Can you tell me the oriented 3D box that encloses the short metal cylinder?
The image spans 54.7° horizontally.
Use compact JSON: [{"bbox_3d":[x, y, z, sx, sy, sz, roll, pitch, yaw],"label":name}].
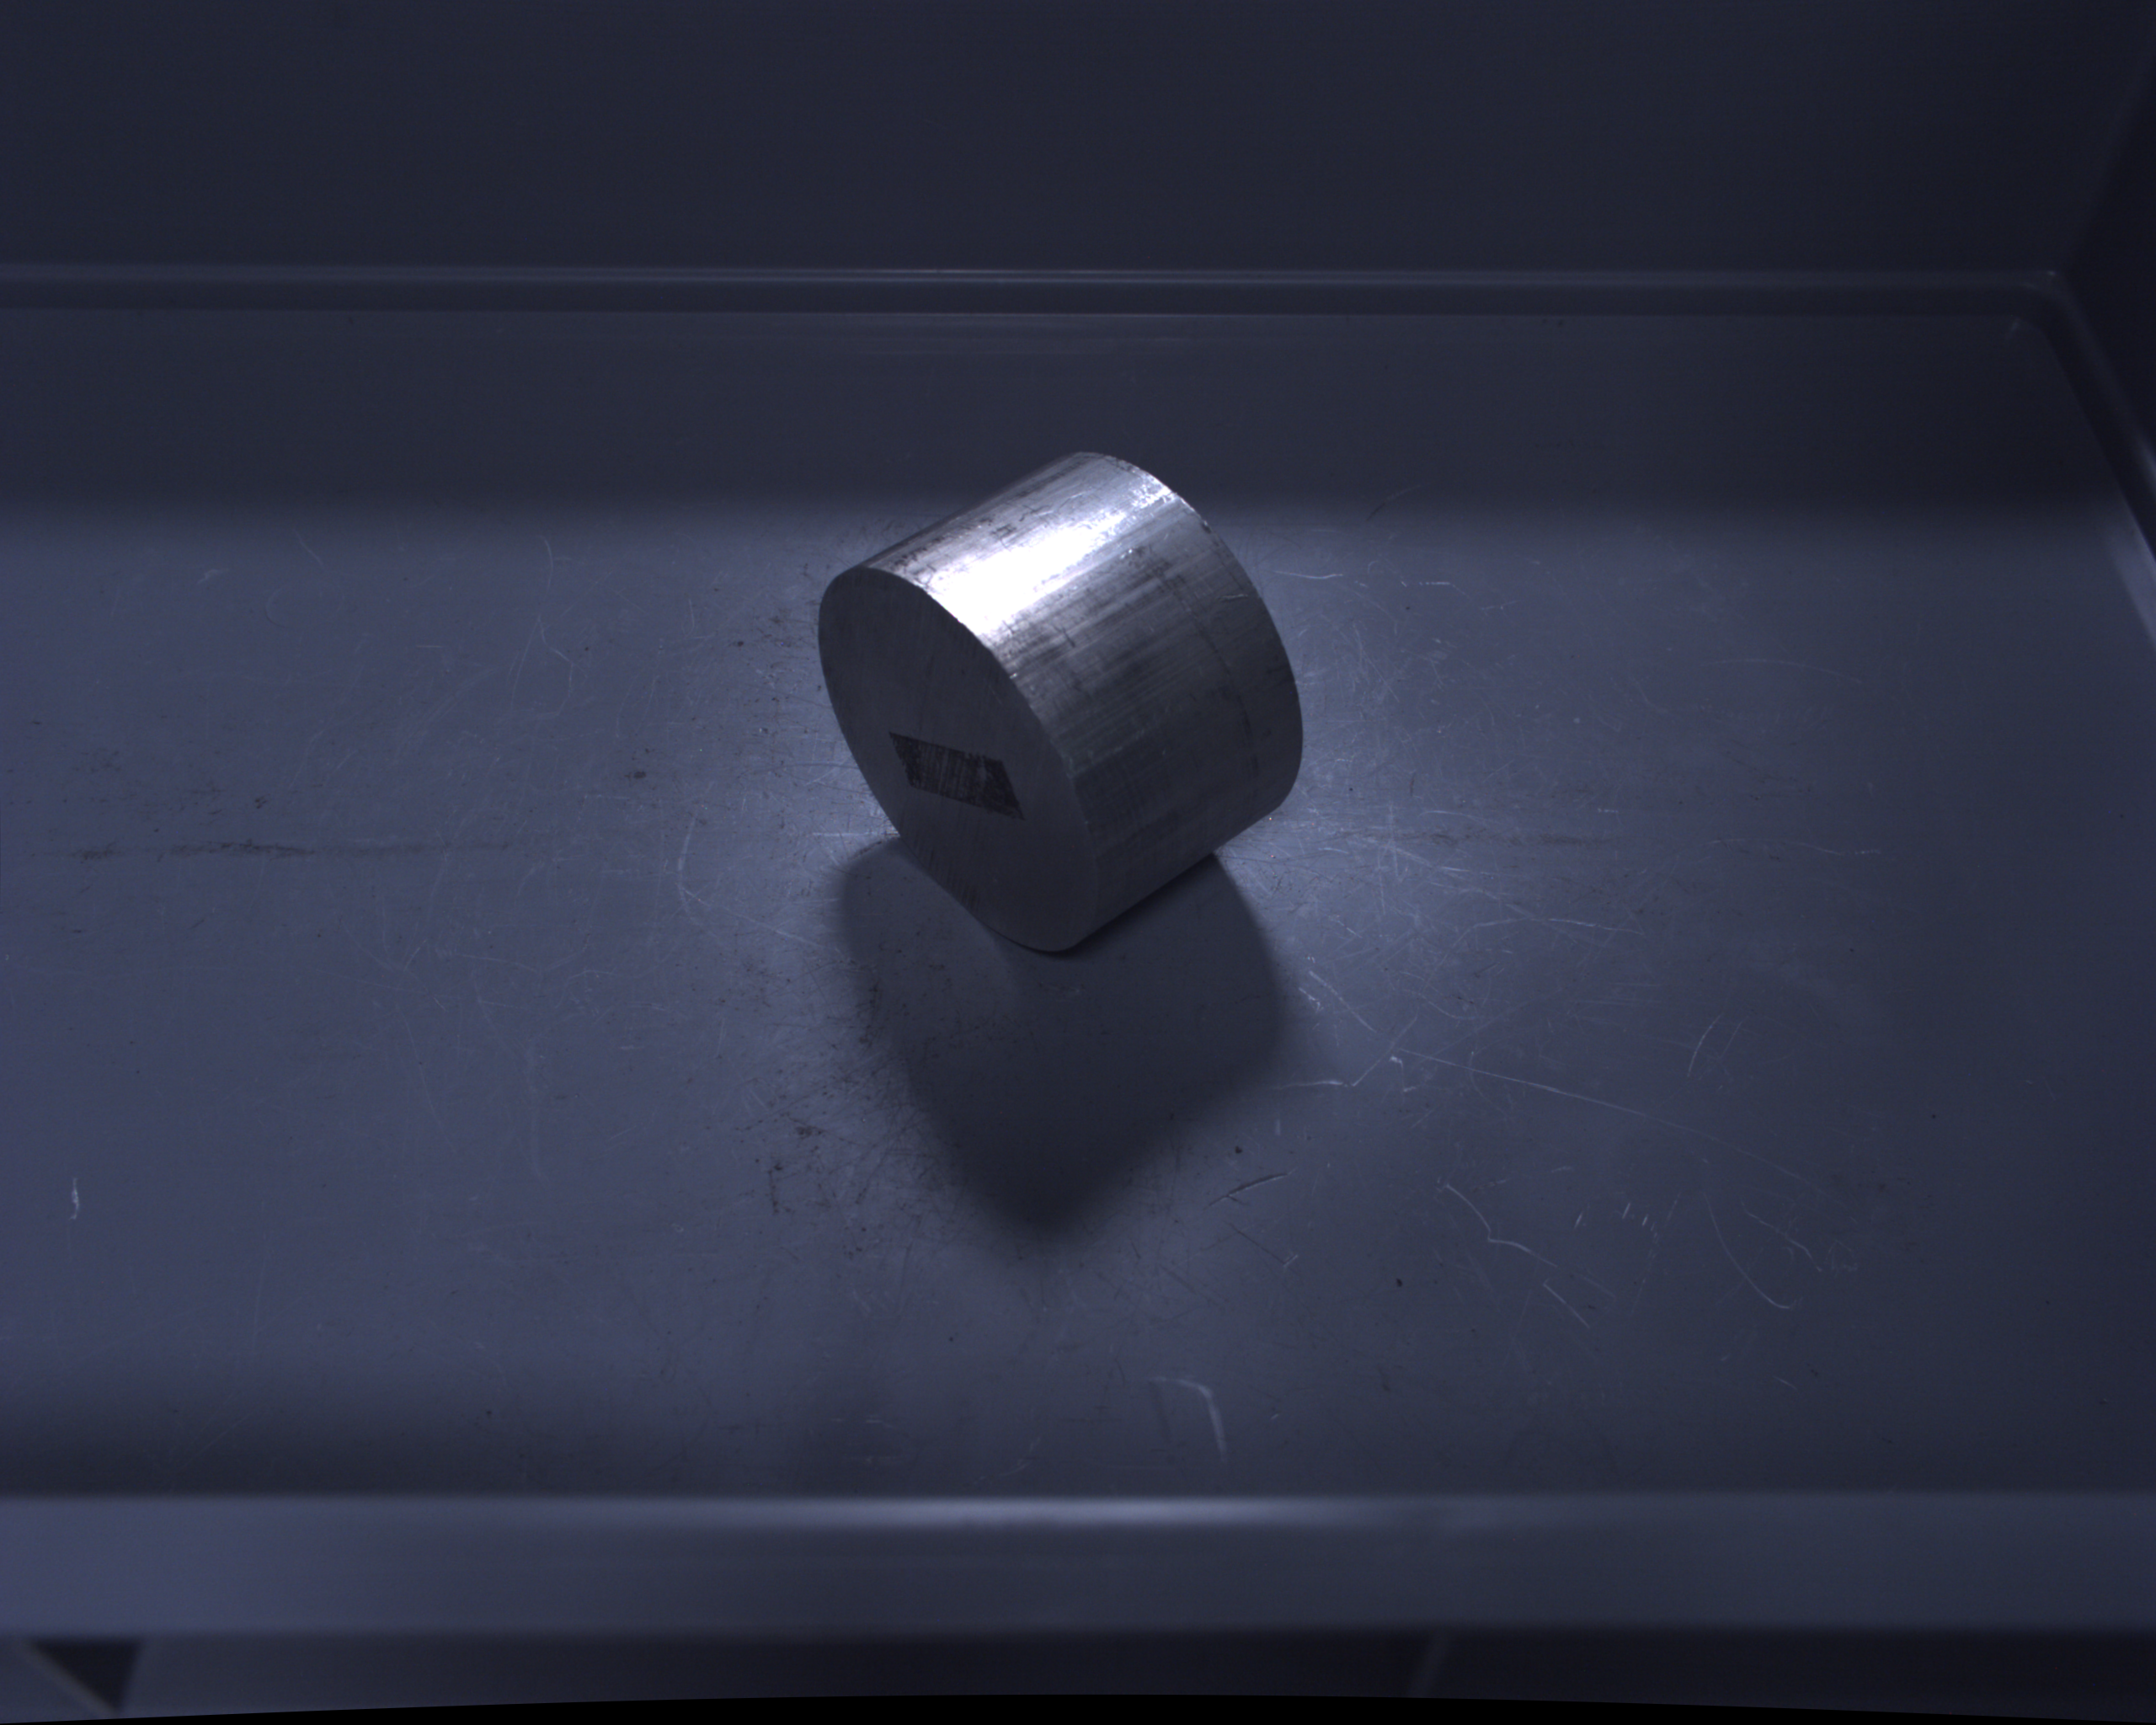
[{"bbox_3d":[-0.004,-0.030,0.392,0.050,0.080,0.080,-34,58,-25],"label":"short metal cylinder"}]
